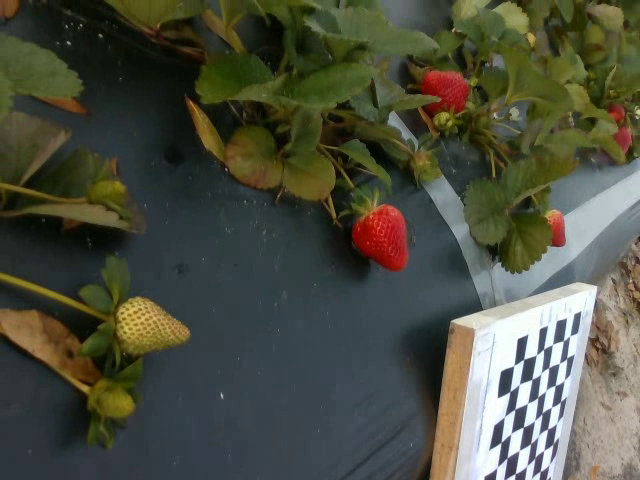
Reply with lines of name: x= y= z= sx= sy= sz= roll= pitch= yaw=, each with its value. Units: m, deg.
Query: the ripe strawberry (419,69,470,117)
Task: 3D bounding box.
ripe strawberry: x=0.109 y=-0.138 z=0.520 sx=0.062 sy=0.043 sz=0.042 roll=23 pitch=-1 yaw=-40

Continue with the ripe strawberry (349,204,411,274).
ripe strawberry: x=0.040 y=-0.002 z=0.352 sx=0.036 sy=0.046 sz=0.040 roll=-18 pitch=-22 yaw=-32
